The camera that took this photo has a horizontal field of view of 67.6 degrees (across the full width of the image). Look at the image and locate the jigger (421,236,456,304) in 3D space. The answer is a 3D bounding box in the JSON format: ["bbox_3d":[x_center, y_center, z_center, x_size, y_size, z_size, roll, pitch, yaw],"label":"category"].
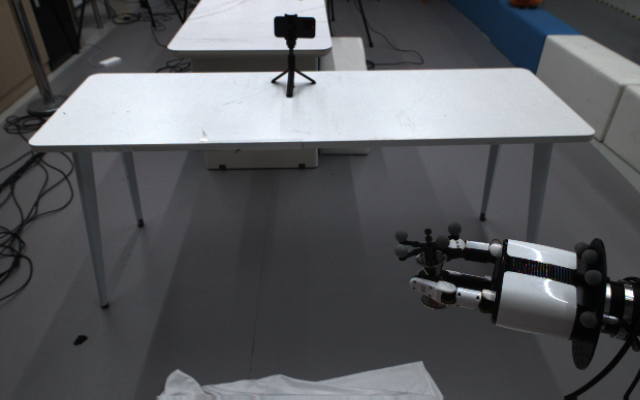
[{"bbox_3d":[0.153,0.105,0.650,0.043,0.071,0.043,-11,24,5],"label":"jigger"}]
